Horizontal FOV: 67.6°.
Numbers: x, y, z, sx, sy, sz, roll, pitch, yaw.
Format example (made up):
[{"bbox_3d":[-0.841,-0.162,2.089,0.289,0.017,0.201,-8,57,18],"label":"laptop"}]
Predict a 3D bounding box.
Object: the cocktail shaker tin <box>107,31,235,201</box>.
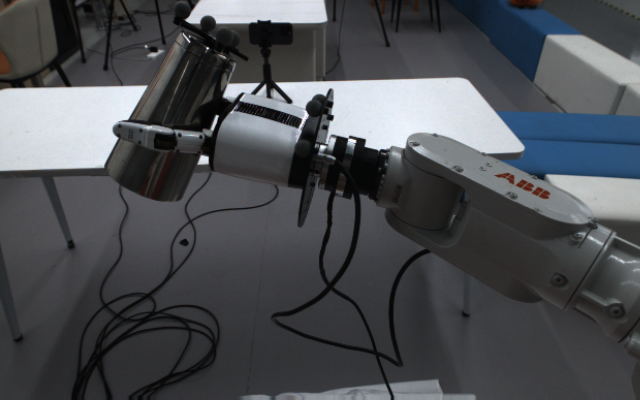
[{"bbox_3d":[-0.159,-0.096,0.537,0.093,0.170,0.093,28,14,-7],"label":"cocktail shaker tin"}]
